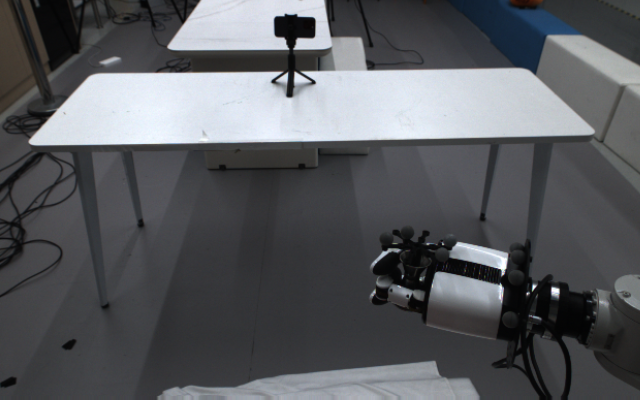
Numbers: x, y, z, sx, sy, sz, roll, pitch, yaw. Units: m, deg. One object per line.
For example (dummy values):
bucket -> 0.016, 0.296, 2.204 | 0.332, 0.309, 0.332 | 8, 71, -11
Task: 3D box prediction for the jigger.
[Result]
jigger -> 0.123, 0.103, 0.632 | 0.043, 0.071, 0.043 | 3, 24, -1
